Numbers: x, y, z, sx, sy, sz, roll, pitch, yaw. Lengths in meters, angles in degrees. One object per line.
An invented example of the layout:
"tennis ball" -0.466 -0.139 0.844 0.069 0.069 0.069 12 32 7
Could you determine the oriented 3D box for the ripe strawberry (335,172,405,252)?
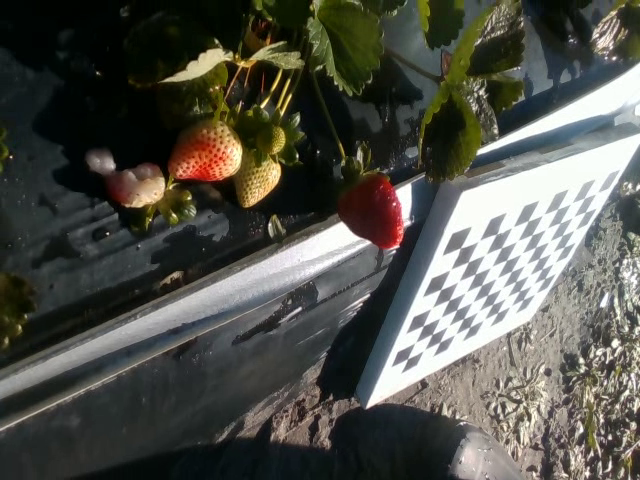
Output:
"ripe strawberry" 0.028 -0.012 0.332 0.036 0.046 0.038 -16 -27 -32
